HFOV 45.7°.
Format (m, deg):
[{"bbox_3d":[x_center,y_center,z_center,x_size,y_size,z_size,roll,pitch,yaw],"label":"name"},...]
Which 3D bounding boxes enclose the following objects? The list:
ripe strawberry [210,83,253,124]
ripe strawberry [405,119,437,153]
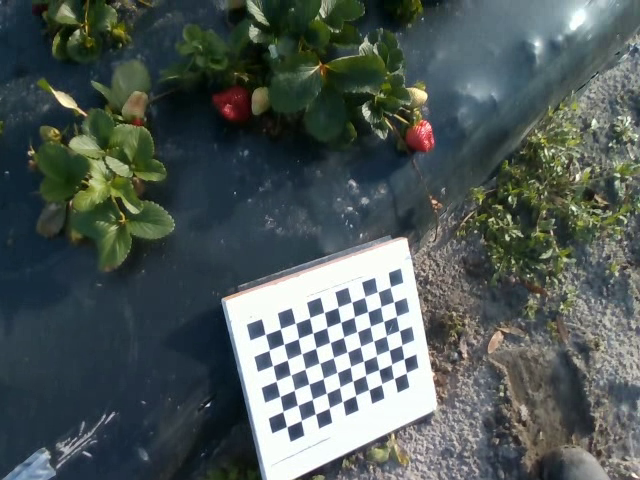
[{"bbox_3d":[-0.134,-0.200,1.087,0.057,0.058,0.070,3,10,37],"label":"ripe strawberry"},{"bbox_3d":[0.156,-0.153,1.136,0.047,0.050,0.034,-39,16,-18],"label":"ripe strawberry"}]
